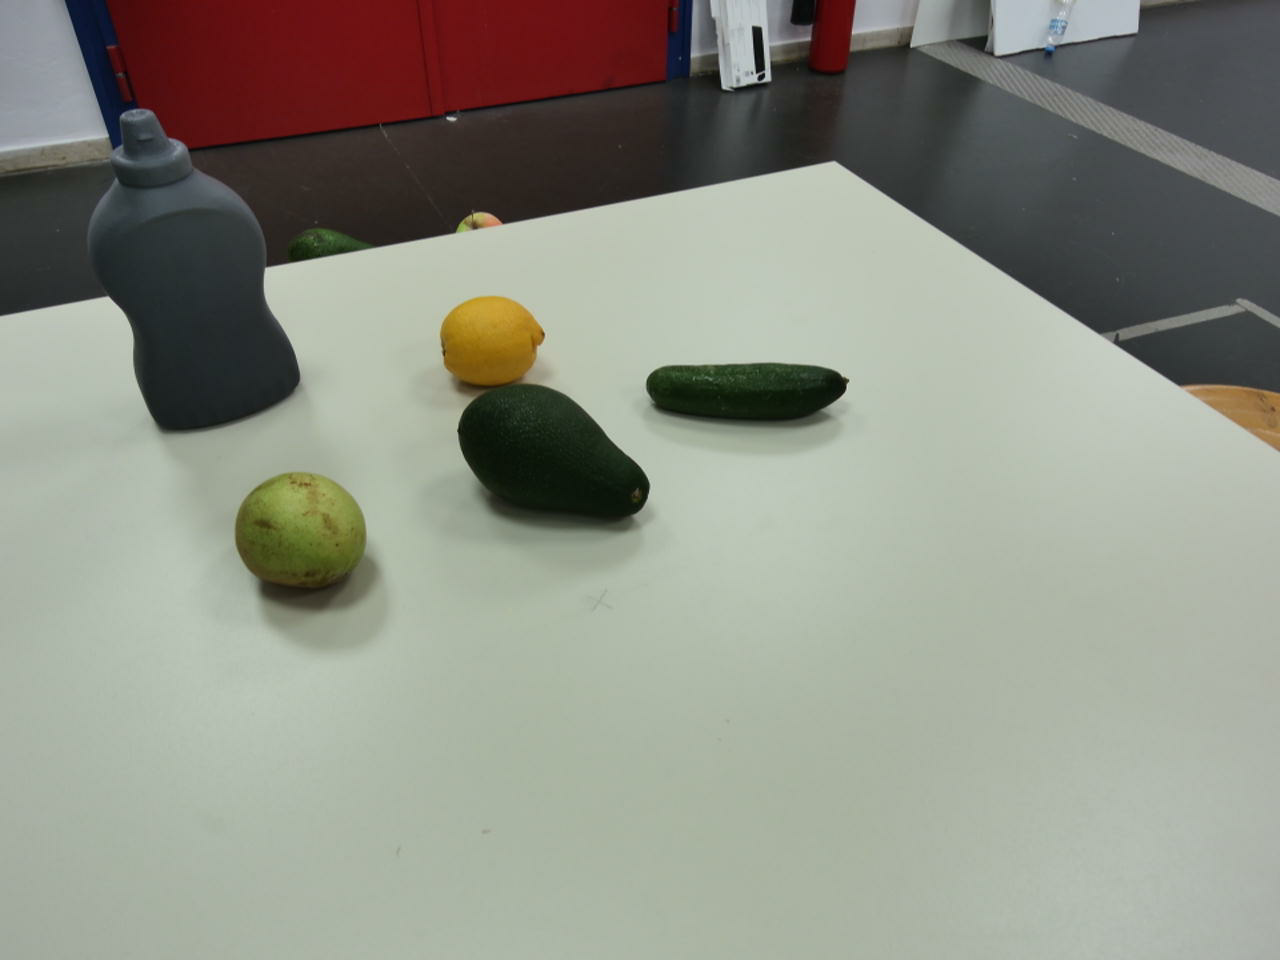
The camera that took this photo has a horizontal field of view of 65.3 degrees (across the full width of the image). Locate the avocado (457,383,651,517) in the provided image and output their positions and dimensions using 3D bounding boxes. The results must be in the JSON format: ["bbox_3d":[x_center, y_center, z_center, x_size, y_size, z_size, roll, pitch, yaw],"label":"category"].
[{"bbox_3d":[-0.053,-0.014,0.574,0.109,0.071,0.072,30,47,31],"label":"avocado"}]
